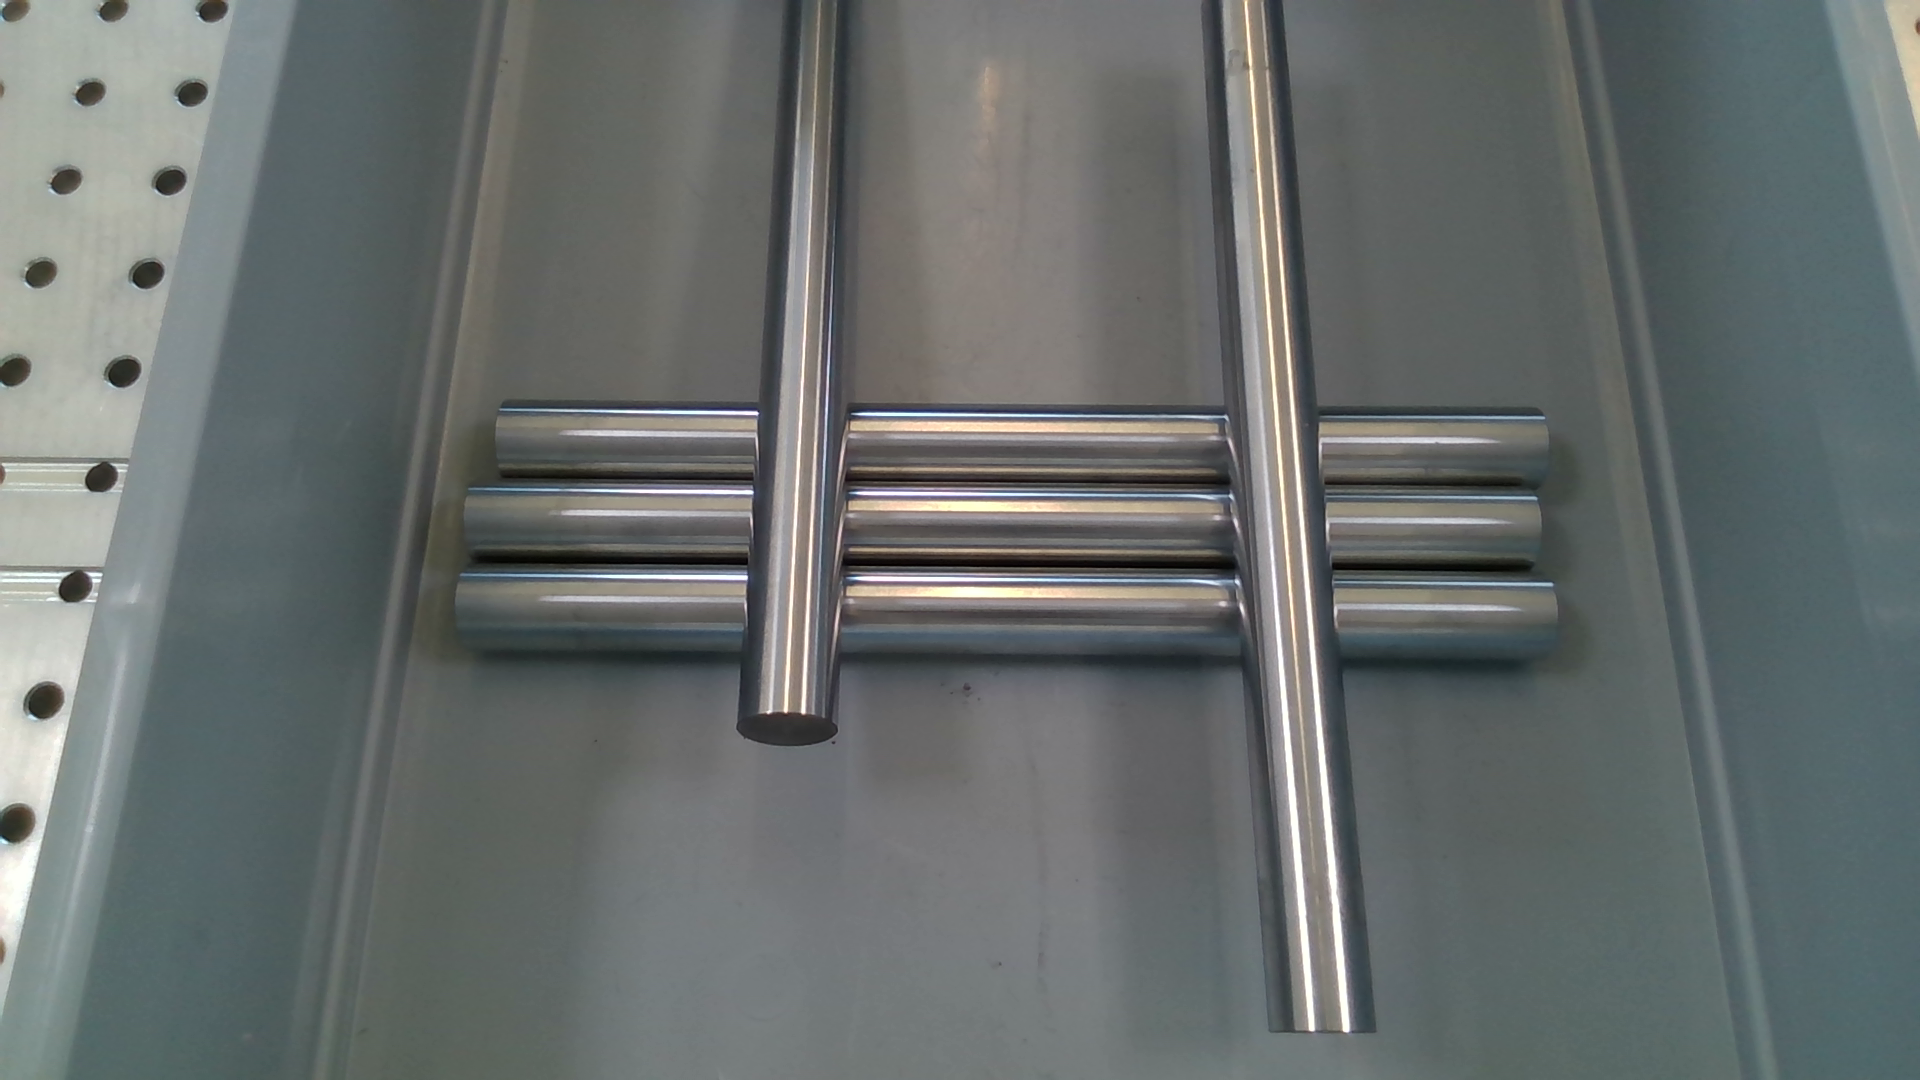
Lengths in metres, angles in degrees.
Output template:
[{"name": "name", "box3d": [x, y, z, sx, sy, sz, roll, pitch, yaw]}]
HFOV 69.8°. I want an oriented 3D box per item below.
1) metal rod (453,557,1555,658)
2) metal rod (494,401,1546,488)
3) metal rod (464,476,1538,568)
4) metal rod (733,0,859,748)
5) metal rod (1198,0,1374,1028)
[{"name": "metal rod", "box3d": [0.012, 0.019, 0.387, 0.300, 0.025, 0.025, 1, 70, 0]}, {"name": "metal rod", "box3d": [0.017, -0.028, 0.405, 0.300, 0.025, 0.025, 0, 70, 0]}, {"name": "metal rod", "box3d": [0.011, -0.004, 0.397, 0.300, 0.025, 0.025, 1, 70, 0]}, {"name": "metal rod", "box3d": [-0.045, -0.086, 0.406, 0.025, 0.025, 0.299, -1, 63, 0]}, {"name": "metal rod", "box3d": [0.086, -0.025, 0.377, 0.025, 0.025, 0.299, 0, 70, 0]}]
